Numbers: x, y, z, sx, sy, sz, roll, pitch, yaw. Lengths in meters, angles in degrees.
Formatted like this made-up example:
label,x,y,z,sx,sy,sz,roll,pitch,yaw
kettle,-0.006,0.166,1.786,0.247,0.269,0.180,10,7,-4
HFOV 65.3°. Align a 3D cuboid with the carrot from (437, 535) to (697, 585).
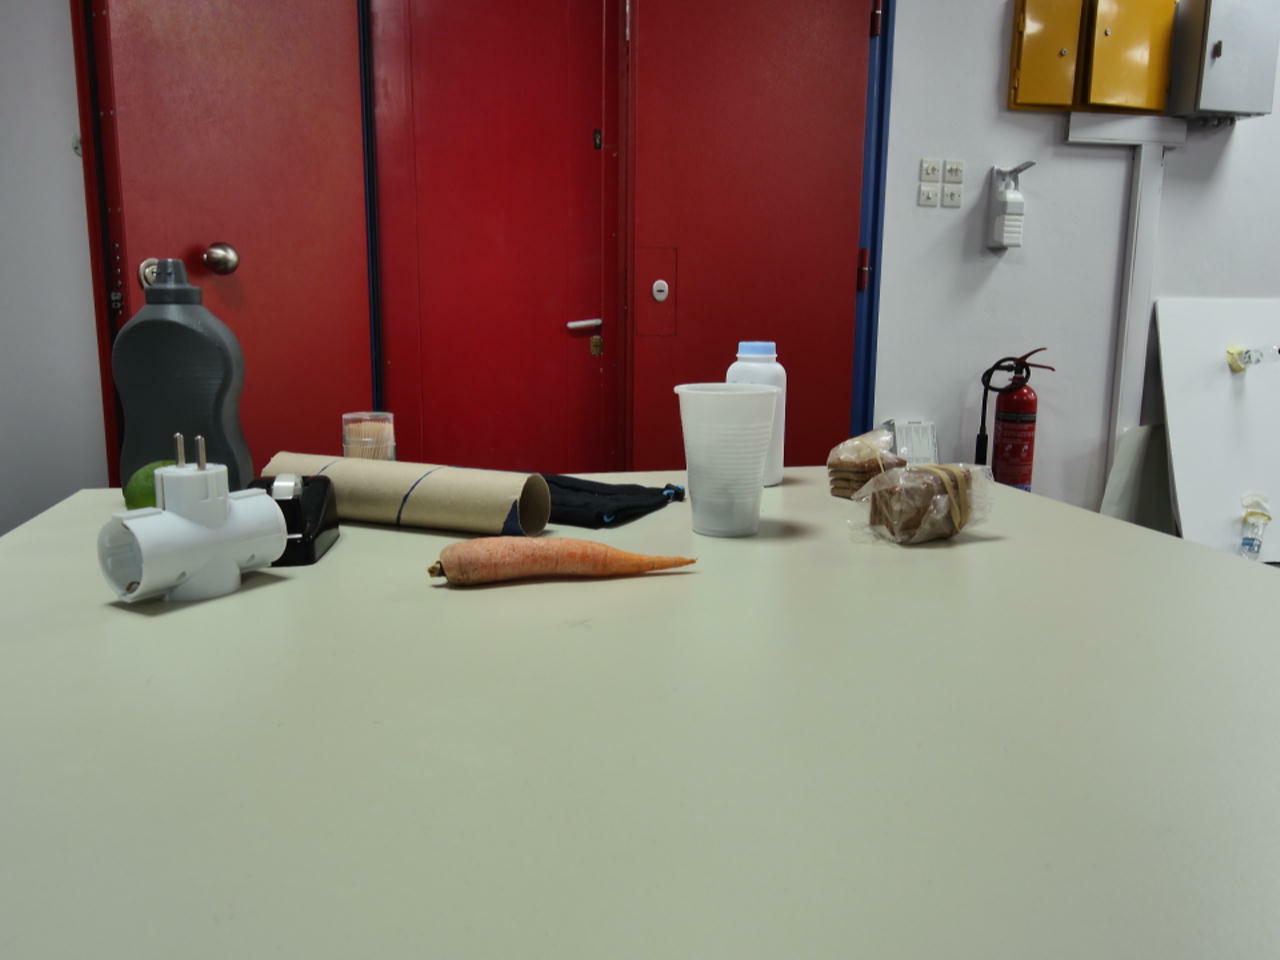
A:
label,x,y,z,sx,sy,sz,roll,pitch,yaw
carrot,-0.044,0.048,0.618,0.163,0.029,0.031,-2,8,-12
